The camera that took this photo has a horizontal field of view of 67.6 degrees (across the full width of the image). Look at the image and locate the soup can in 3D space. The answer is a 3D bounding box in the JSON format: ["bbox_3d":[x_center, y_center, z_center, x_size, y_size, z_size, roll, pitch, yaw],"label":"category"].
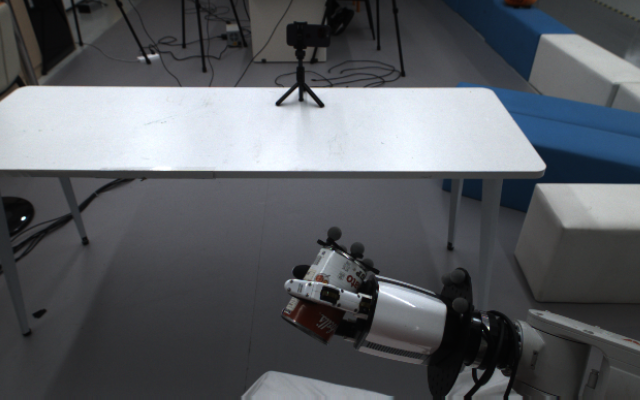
[{"bbox_3d":[0.006,0.116,0.595,0.067,0.067,0.101,24,71,28],"label":"soup can"}]
